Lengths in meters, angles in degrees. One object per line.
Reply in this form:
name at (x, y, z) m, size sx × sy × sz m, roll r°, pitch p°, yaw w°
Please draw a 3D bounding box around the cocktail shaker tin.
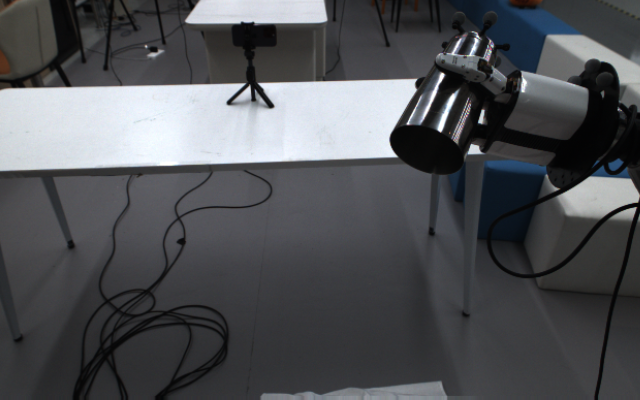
cocktail shaker tin at (0.164, -0.131, 0.599) m, size 0.093 × 0.093 × 0.170 m, roll 18°, pitch 66°, yaw 21°
